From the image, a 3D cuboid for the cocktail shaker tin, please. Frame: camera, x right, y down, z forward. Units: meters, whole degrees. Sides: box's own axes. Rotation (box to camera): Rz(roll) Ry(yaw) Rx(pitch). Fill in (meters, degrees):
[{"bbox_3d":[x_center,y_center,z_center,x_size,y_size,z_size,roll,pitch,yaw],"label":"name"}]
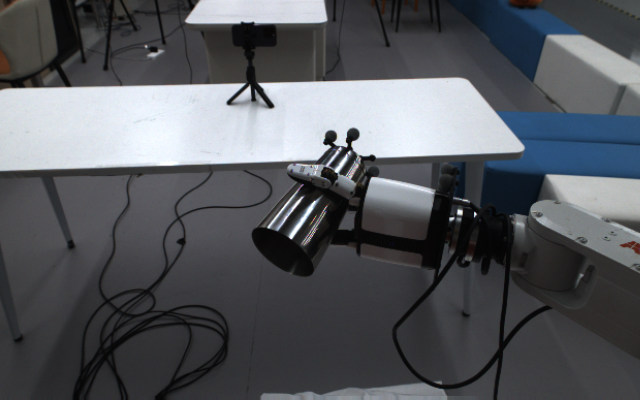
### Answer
[{"bbox_3d":[-0.003,0.001,0.639,0.093,0.093,0.170,19,55,22],"label":"cocktail shaker tin"}]
